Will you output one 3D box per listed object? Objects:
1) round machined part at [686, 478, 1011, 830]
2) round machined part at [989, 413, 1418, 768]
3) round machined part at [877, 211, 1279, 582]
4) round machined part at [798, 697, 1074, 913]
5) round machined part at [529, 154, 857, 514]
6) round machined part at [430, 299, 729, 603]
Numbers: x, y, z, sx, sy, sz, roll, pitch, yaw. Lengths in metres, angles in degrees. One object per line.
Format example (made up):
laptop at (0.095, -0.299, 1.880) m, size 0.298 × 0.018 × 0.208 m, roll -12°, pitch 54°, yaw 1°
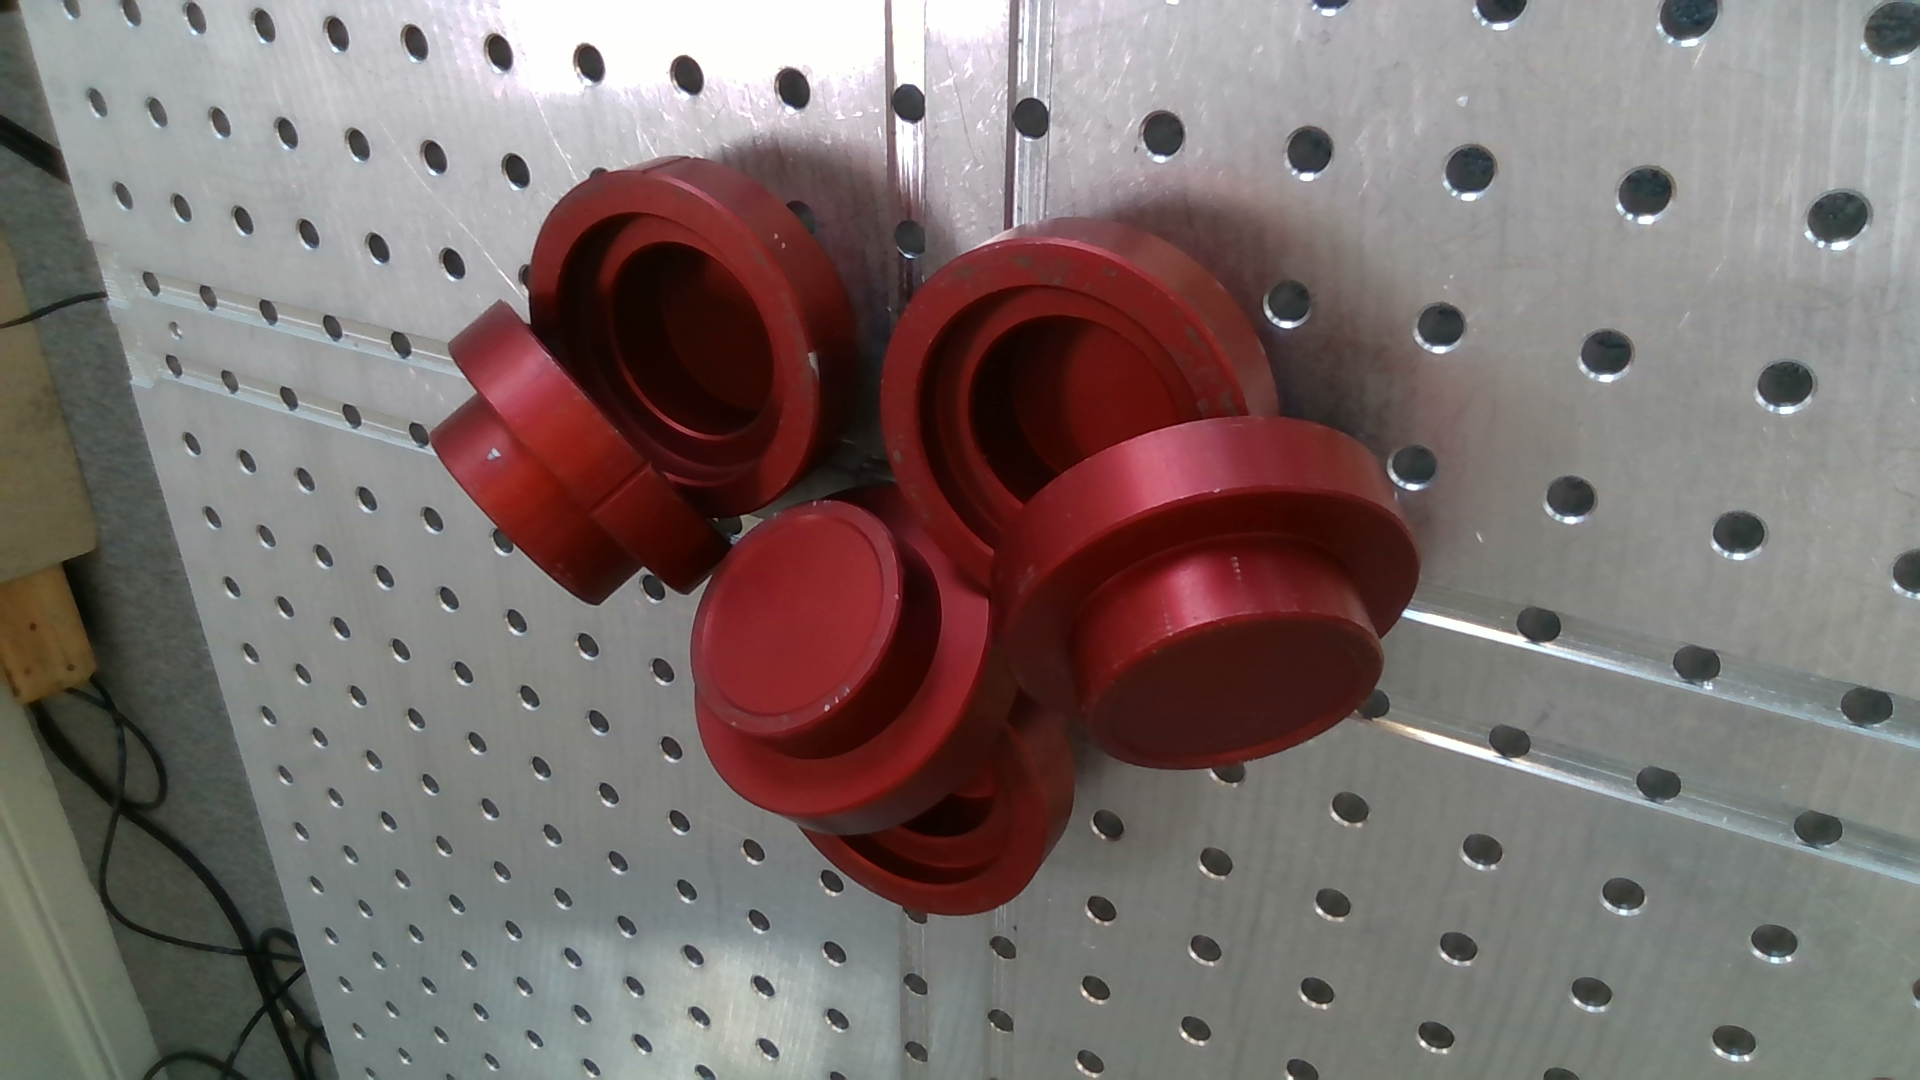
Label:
round machined part at (-0.035, 0.027, 0.378) m, size 0.098 × 0.098 × 0.042 m, roll 0°, pitch 157°, yaw 31°
round machined part at (0.058, 0.019, 0.319) m, size 0.098 × 0.042 × 0.098 m, roll -7°, pitch 144°, yaw -5°
round machined part at (0.032, -0.033, 0.342) m, size 0.098 × 0.042 × 0.098 m, roll 14°, pitch 122°, yaw 25°
round machined part at (-0.010, 0.061, 0.419) m, size 0.098 × 0.042 × 0.098 m, roll 14°, pitch 122°, yaw 25°
round machined part at (-0.070, -0.060, 0.390) m, size 0.098 × 0.042 × 0.098 m, roll 14°, pitch 122°, yaw 25°
round machined part at (-0.114, -0.020, 0.402) m, size 0.042 × 0.098 × 0.098 m, roll -43°, pitch 84°, yaw -5°
